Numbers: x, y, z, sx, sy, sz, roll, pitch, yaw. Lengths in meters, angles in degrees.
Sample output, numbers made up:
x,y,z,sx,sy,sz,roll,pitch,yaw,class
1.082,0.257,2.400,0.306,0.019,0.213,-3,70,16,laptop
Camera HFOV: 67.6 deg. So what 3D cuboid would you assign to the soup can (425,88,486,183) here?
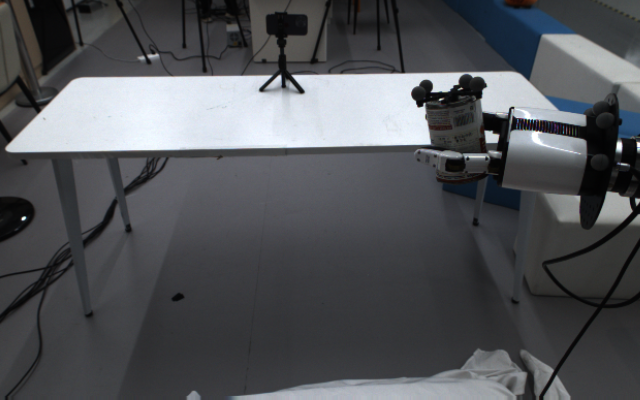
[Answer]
x,y,z,sx,sy,sz,roll,pitch,yaw,class
0.175,-0.079,0.608,0.067,0.101,0.067,-13,20,5,soup can
